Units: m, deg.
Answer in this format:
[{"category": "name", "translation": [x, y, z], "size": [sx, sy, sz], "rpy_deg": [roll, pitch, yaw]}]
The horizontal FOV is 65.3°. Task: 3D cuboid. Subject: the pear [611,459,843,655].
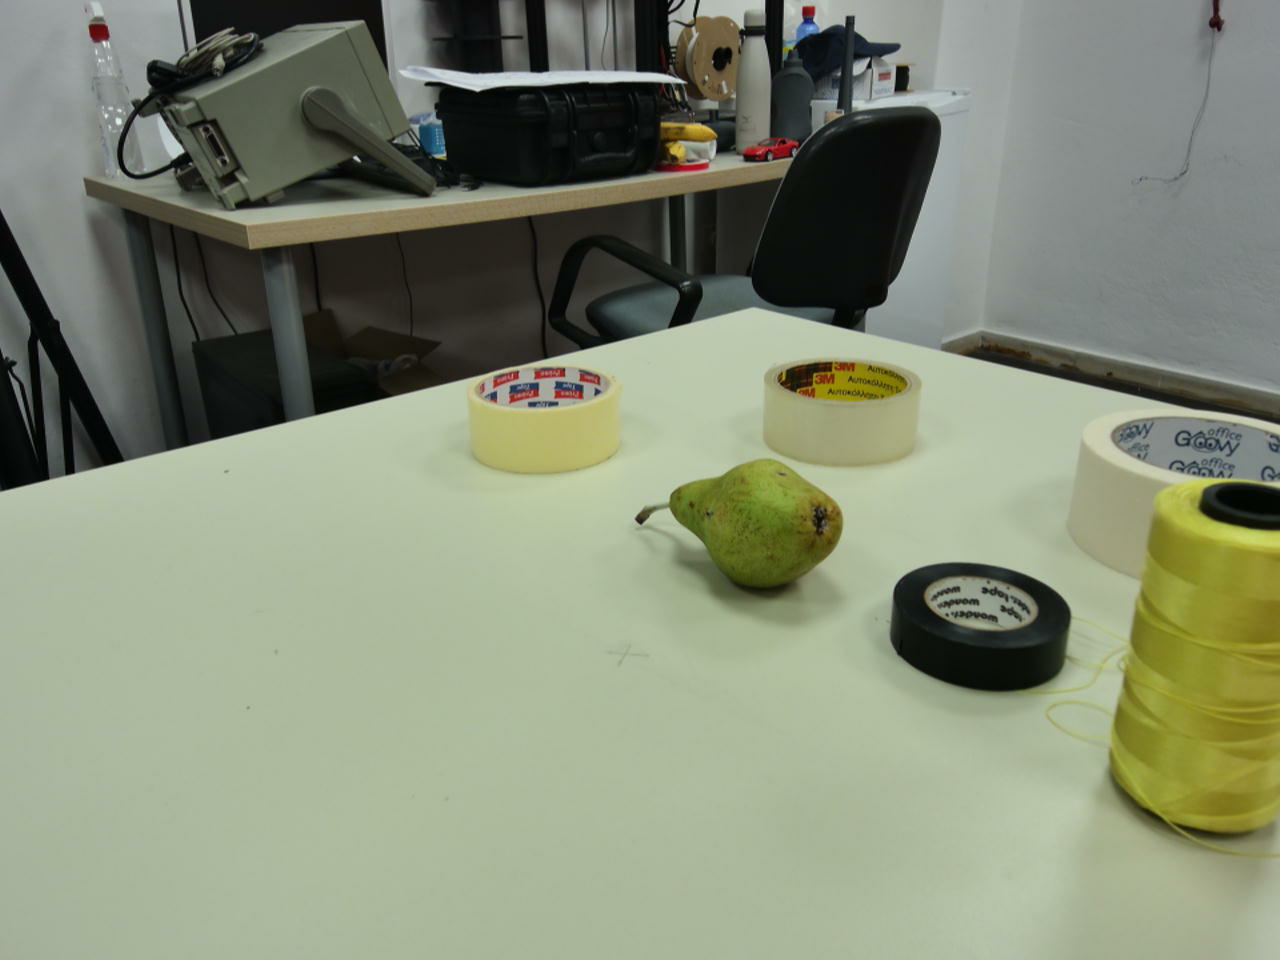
[{"category": "pear", "translation": [0.048, 0.013, 0.461], "size": [0.056, 0.056, 0.111], "rpy_deg": [-9, 24, -22]}]
